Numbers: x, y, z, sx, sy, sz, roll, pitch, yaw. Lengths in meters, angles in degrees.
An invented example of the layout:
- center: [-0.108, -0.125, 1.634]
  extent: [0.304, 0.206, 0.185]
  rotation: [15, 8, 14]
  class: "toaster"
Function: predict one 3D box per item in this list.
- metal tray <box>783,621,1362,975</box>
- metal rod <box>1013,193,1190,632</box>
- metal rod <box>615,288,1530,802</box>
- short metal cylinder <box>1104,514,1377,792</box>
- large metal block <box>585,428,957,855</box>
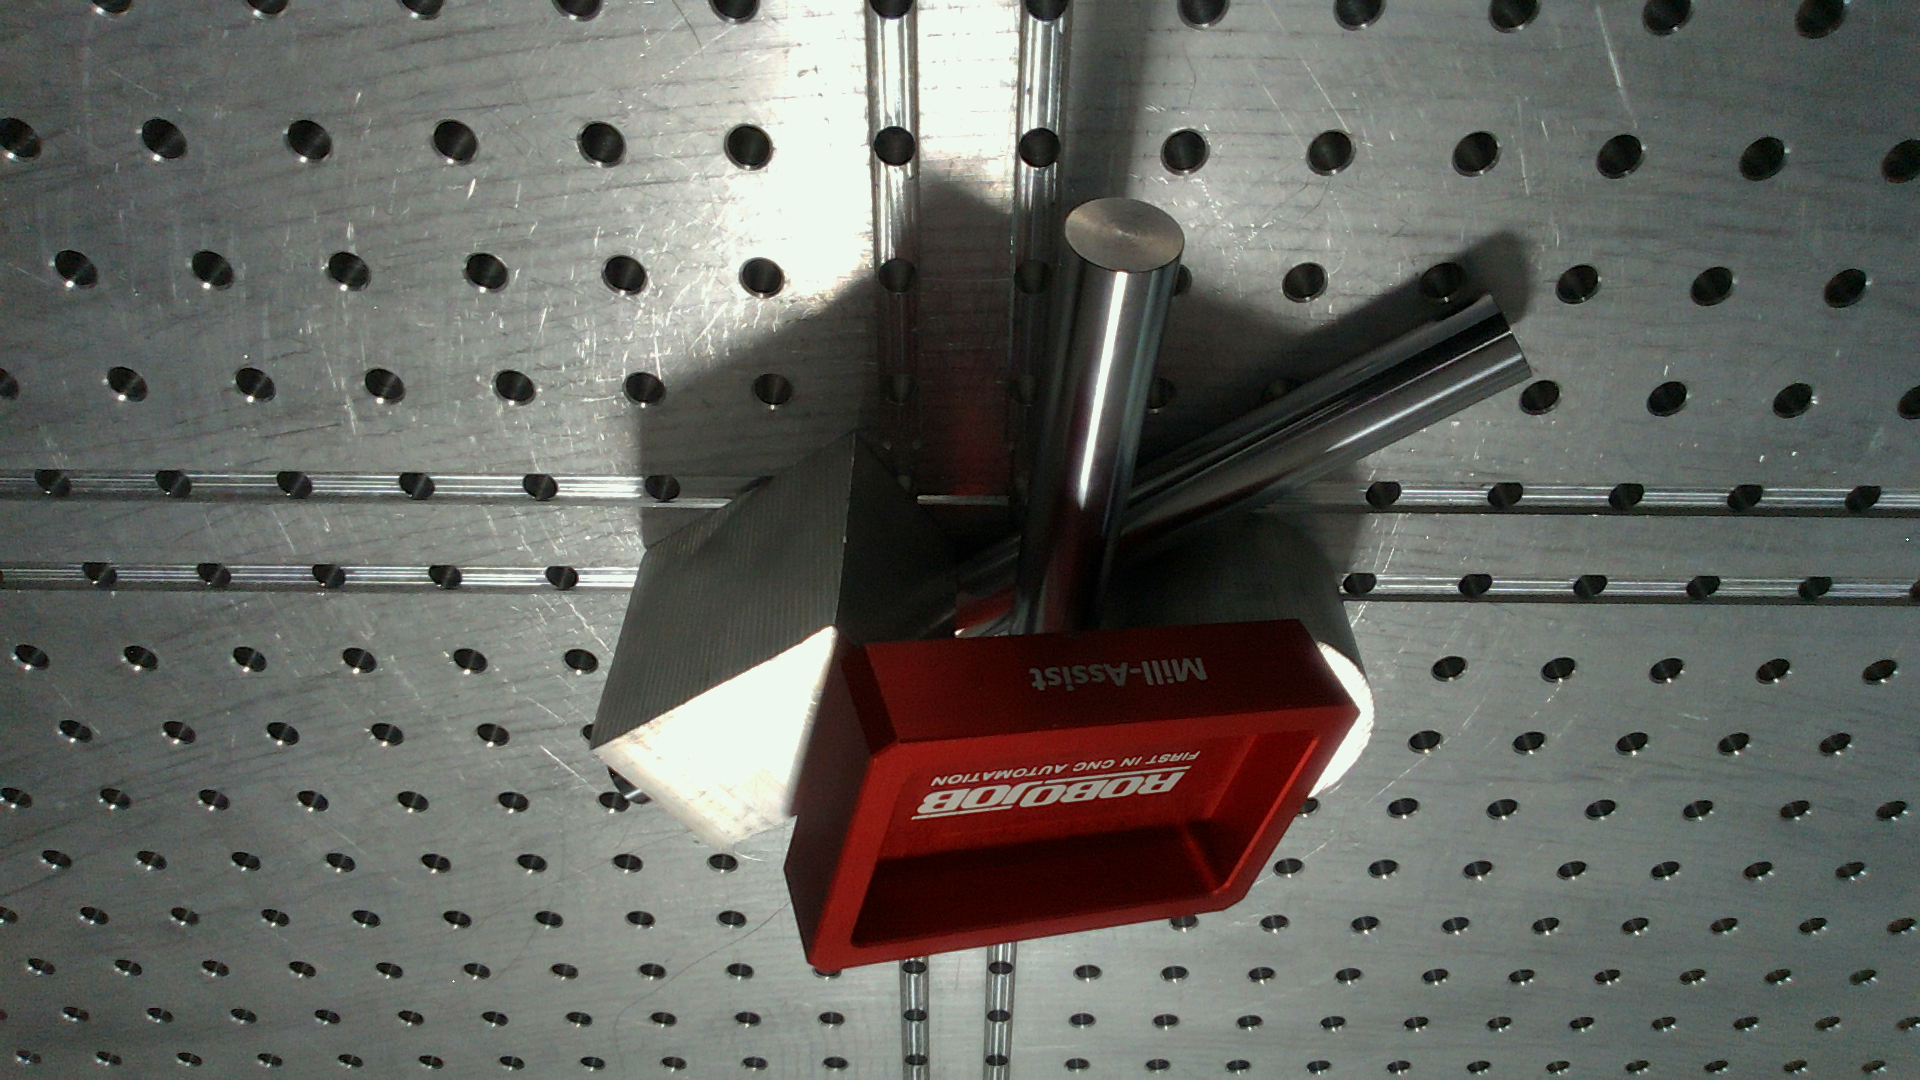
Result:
- center: [0.027, 0.066, 0.353]
  extent: [0.130, 0.030, 0.090]
  rotation: [-2, 133, -23]
  class: "metal tray"
- center: [0.025, 0.034, 0.393]
  extent: [0.025, 0.025, 0.300]
  rotation: [3, 139, -2]
  class: "metal rod"
- center: [0.015, 0.011, 0.404]
  extent: [0.299, 0.025, 0.025]
  rotation: [-27, 125, 21]
  class: "metal rod"
- center: [0.077, 0.038, 0.409]
  extent: [0.080, 0.050, 0.080]
  rotation: [0, 130, 0]
  class: "short metal cylinder"
- center: [-0.048, 0.028, 0.380]
  extent: [0.080, 0.080, 0.050]
  rotation: [-27, 125, 21]
  class: "large metal block"
